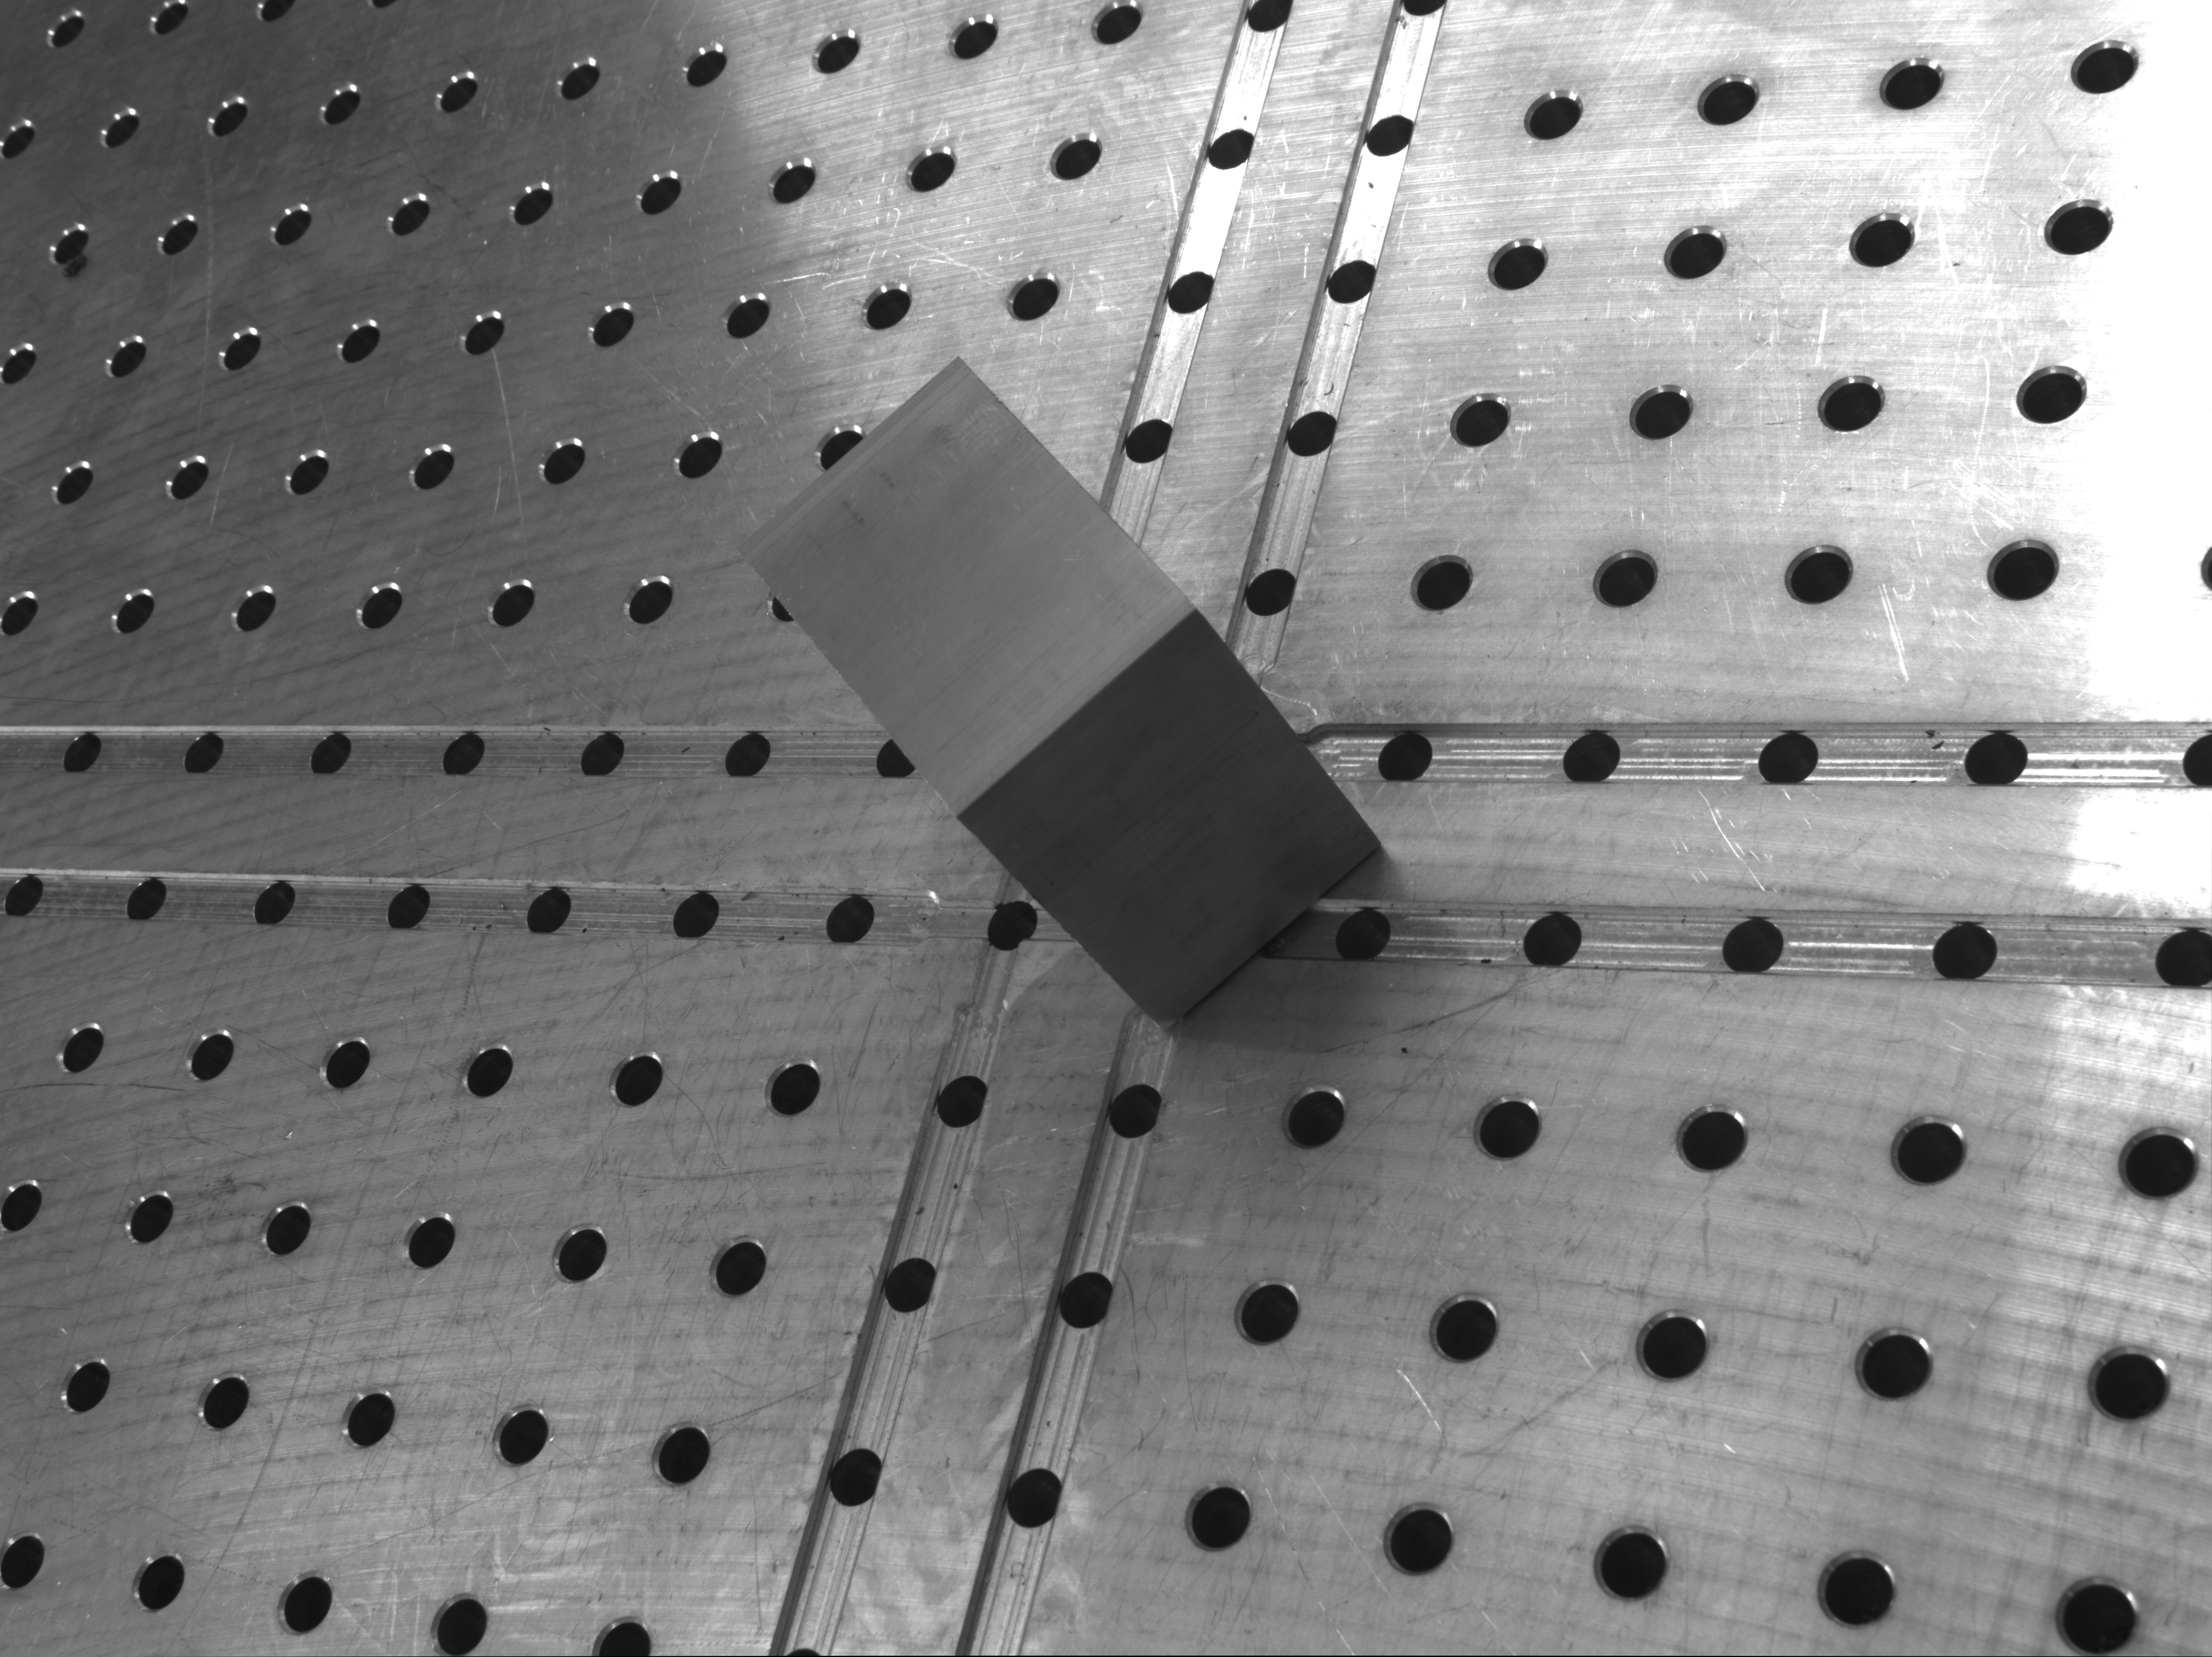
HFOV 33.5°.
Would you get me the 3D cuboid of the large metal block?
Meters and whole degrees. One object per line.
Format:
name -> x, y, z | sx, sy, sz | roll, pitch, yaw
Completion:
large metal block -> -0.008, -0.022, 0.631 | 0.050, 0.080, 0.080 | -41, 51, 0
